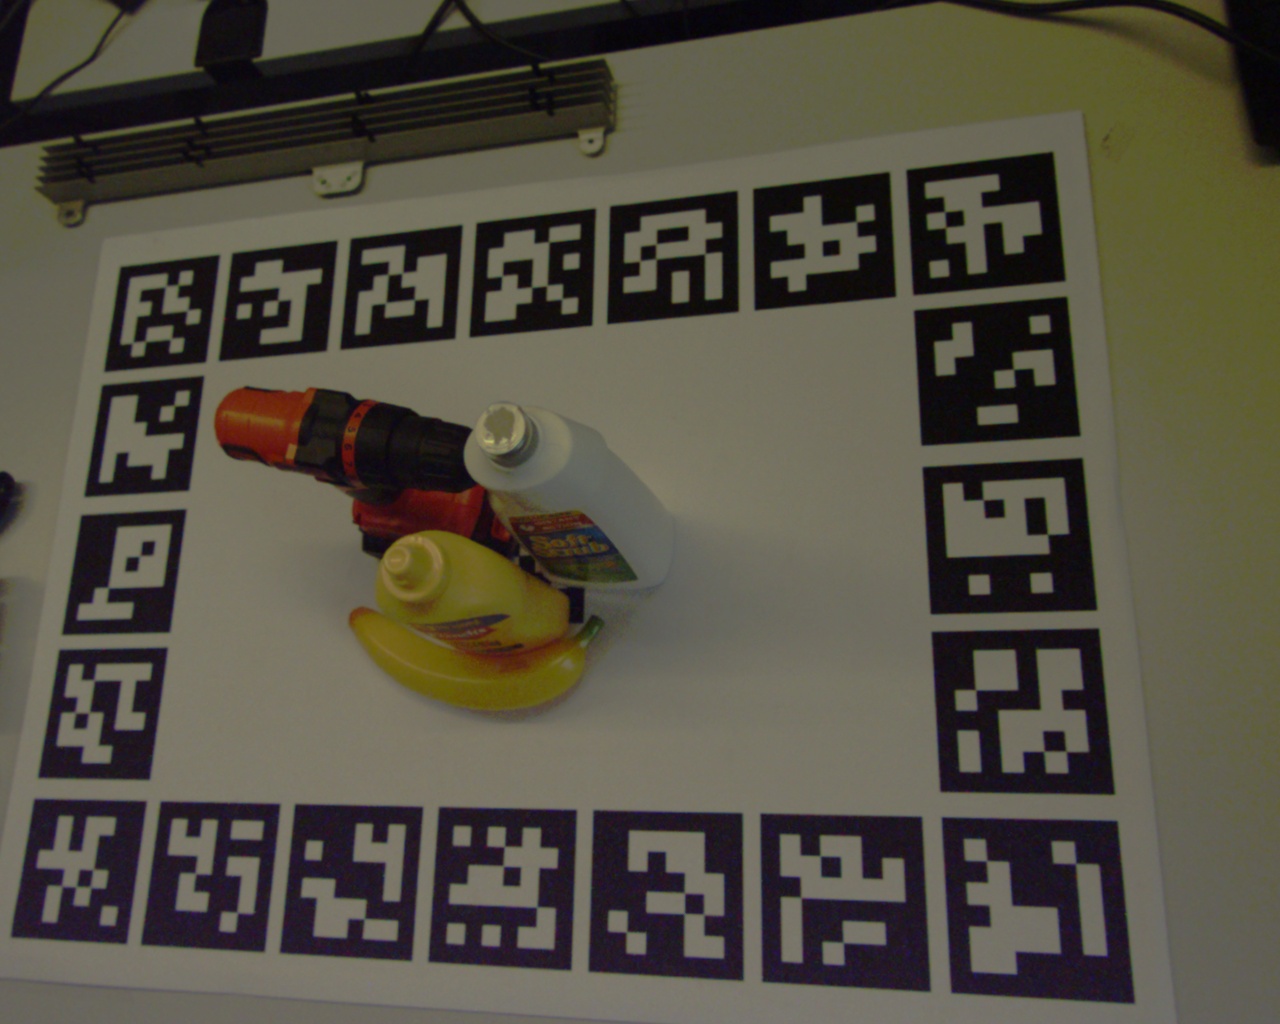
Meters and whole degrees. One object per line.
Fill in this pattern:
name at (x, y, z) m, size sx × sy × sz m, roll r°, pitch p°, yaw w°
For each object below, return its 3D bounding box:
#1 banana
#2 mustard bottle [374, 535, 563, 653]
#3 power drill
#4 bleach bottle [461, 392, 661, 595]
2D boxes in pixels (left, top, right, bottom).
banana at (-0.122, 0.105, 0.840) m, size 0.199 × 0.038 × 0.074 m, roll 2°, pitch 77°, yaw 18°
mustard bottle at (-0.122, 0.054, 0.762) m, size 0.097 × 0.190 × 0.058 m, roll -2°, pitch 75°, yaw 13°
power drill at (-0.165, -0.018, 0.772) m, size 0.186 × 0.185 × 0.057 m, roll 10°, pitch 77°, yaw 16°
bleach bottle at (-0.059, -0.011, 0.737) m, size 0.103 × 0.248 × 0.068 m, roll 0°, pitch 70°, yaw 15°
